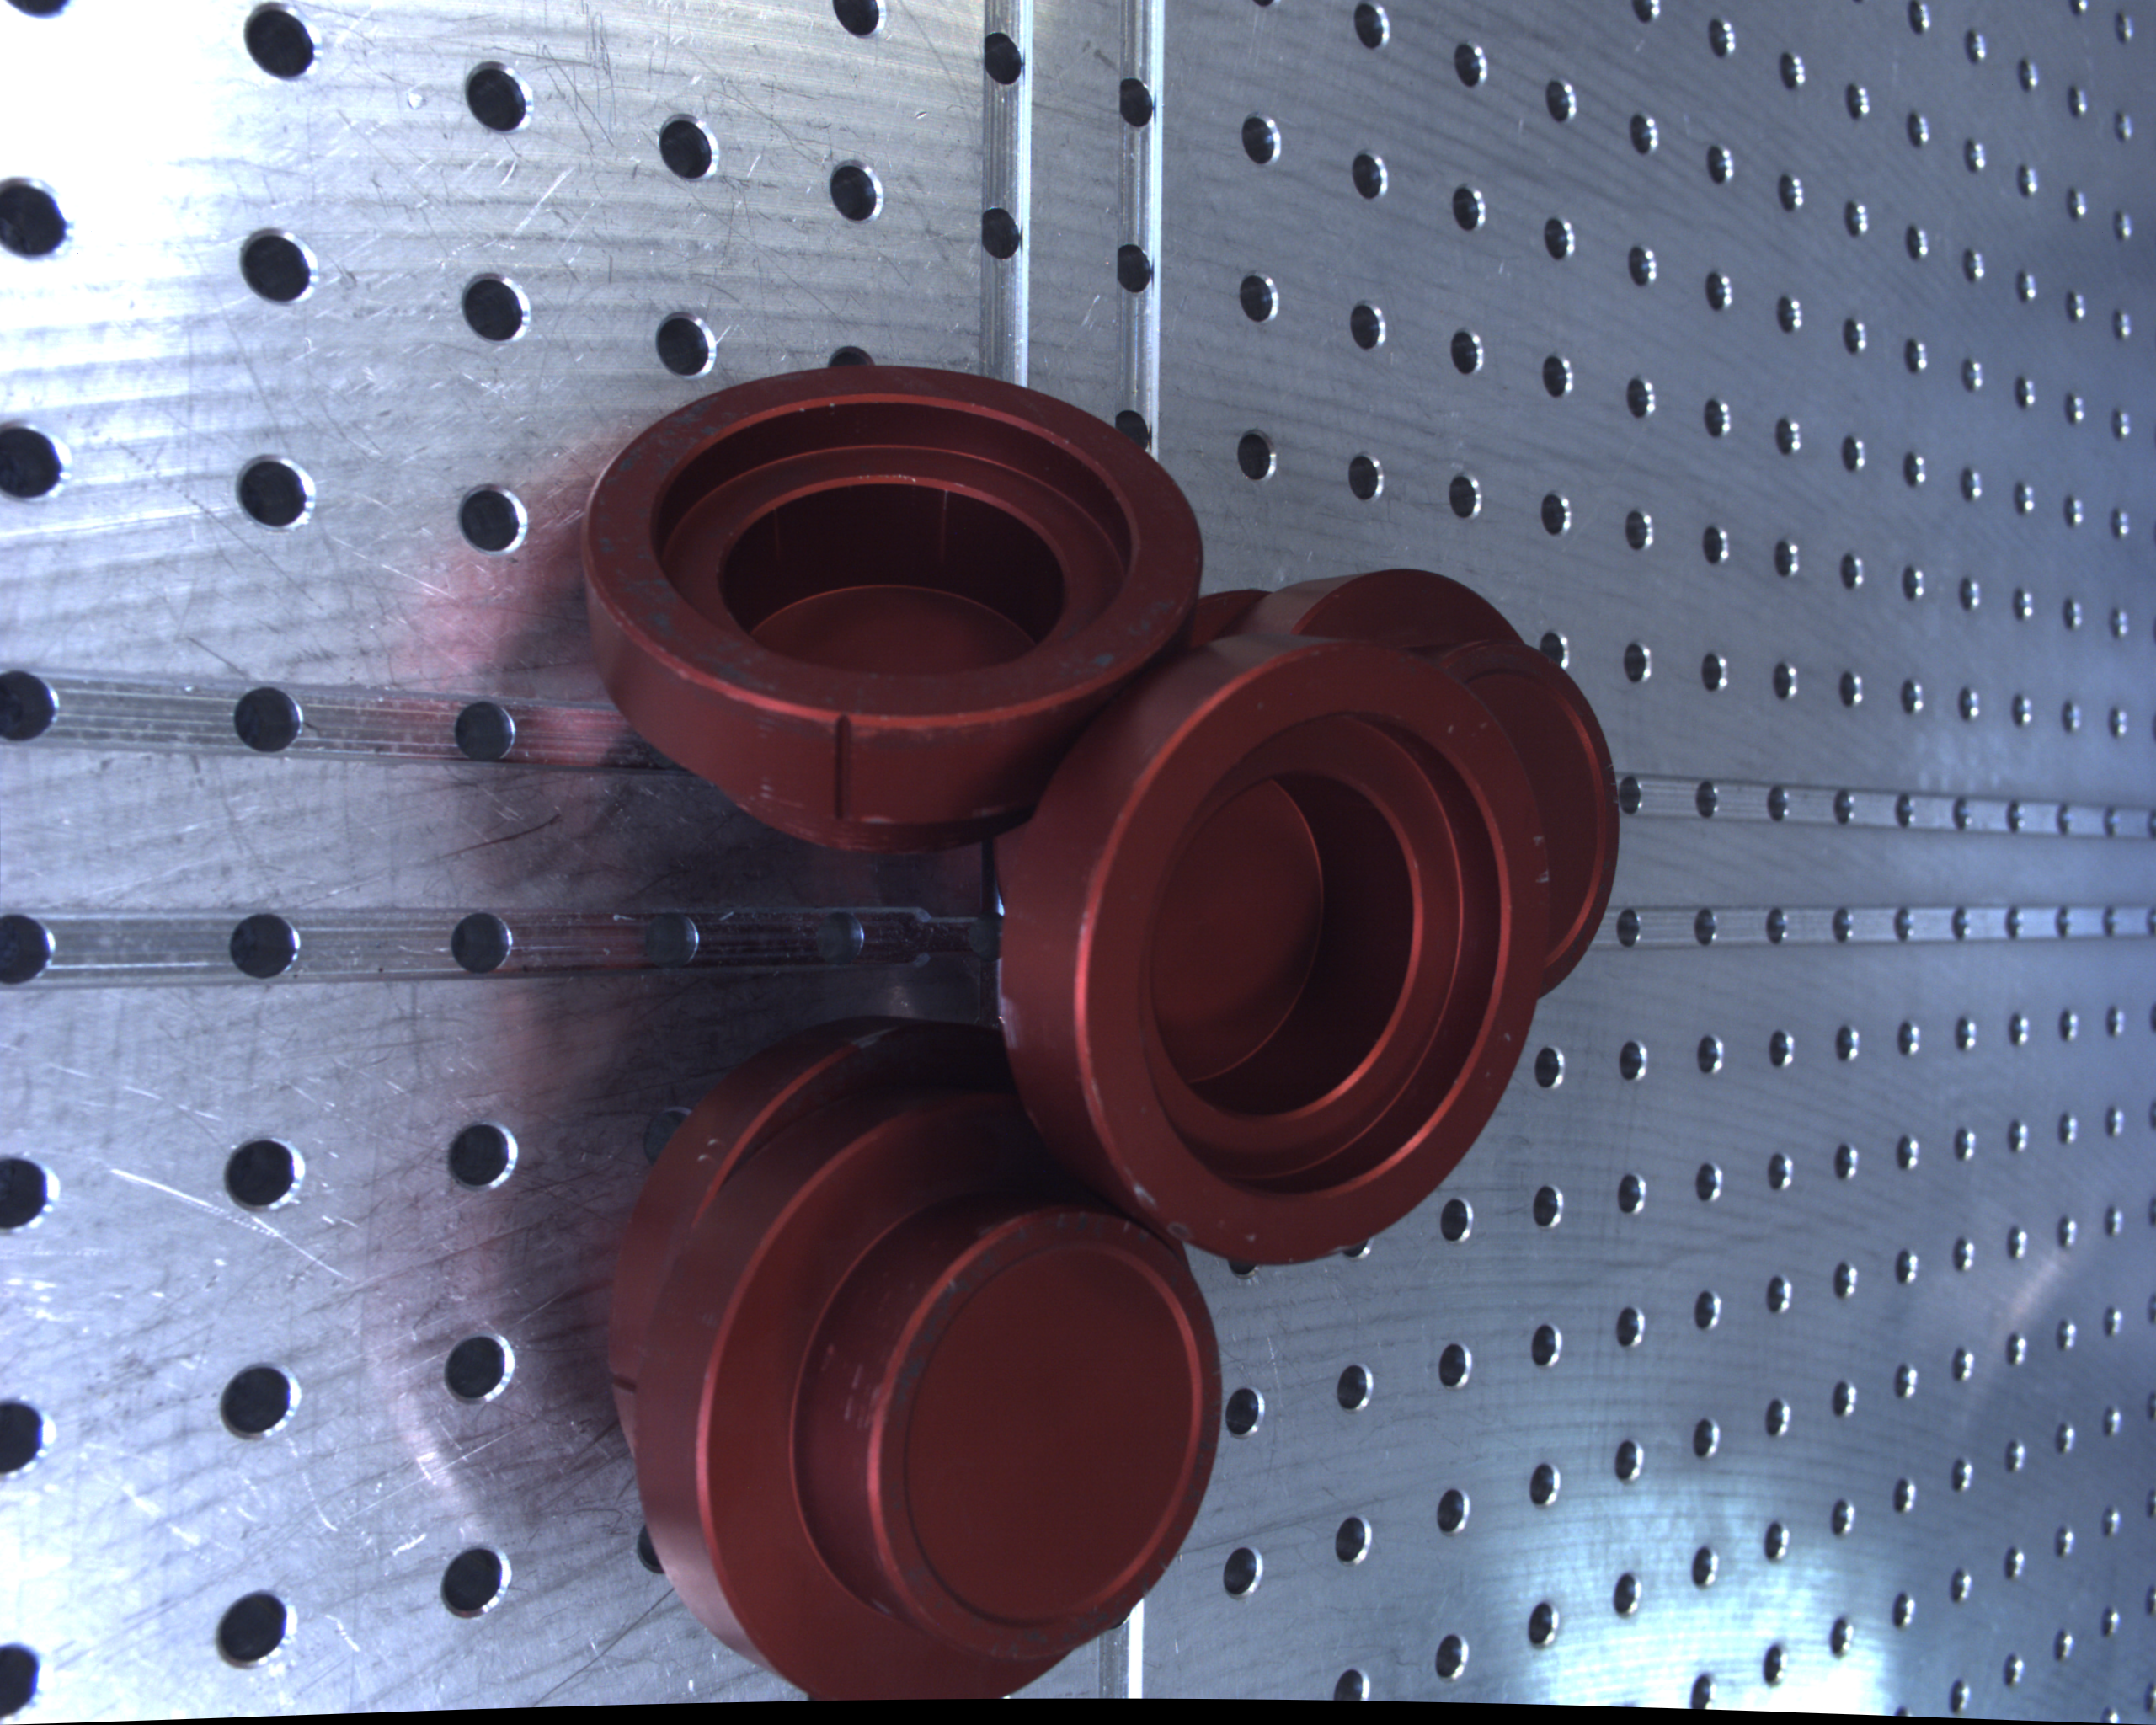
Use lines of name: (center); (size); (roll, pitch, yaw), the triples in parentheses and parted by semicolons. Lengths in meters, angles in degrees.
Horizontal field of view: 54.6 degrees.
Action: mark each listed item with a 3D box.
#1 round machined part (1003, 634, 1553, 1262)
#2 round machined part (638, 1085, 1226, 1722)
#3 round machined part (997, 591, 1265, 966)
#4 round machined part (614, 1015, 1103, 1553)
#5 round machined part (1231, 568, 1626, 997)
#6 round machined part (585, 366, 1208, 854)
round machined part: (0.028, 0.011, 0.337); (0.099, 0.042, 0.097); (-8, 103, -36)
round machined part: (-0.015, 0.085, 0.329); (0.099, 0.042, 0.097); (0, 90, -40)
round machined part: (0.036, -0.003, 0.400); (0.099, 0.042, 0.097); (0, 90, -40)
round machined part: (-0.024, 0.076, 0.350); (0.099, 0.042, 0.097); (0, 90, -40)
round machined part: (0.066, -0.007, 0.397); (0.099, 0.042, 0.097); (1, 89, -40)
round machined part: (-0.030, -0.039, 0.347); (0.099, 0.098, 0.042); (-34, 147, -35)
